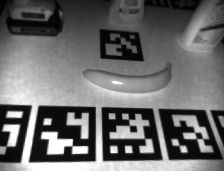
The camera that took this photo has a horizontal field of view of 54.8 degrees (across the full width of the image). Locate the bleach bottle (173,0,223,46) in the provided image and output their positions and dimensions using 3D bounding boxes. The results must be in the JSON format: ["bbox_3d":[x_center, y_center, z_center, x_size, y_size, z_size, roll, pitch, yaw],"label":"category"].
[{"bbox_3d":[0.231,-0.201,0.482,0.103,0.251,0.067,7,55,-5],"label":"bleach bottle"}]

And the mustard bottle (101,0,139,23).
[{"bbox_3d":[0.033,-0.239,0.507,0.097,0.191,0.058,-6,57,-15],"label":"mustard bottle"}]

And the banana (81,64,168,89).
[{"bbox_3d":[0.036,-0.026,0.444,0.198,0.039,0.074,-5,59,-11],"label":"banana"}]

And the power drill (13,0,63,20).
[{"bbox_3d":[-0.146,-0.221,0.422,0.185,0.187,0.057,-6,57,-10],"label":"power drill"}]
